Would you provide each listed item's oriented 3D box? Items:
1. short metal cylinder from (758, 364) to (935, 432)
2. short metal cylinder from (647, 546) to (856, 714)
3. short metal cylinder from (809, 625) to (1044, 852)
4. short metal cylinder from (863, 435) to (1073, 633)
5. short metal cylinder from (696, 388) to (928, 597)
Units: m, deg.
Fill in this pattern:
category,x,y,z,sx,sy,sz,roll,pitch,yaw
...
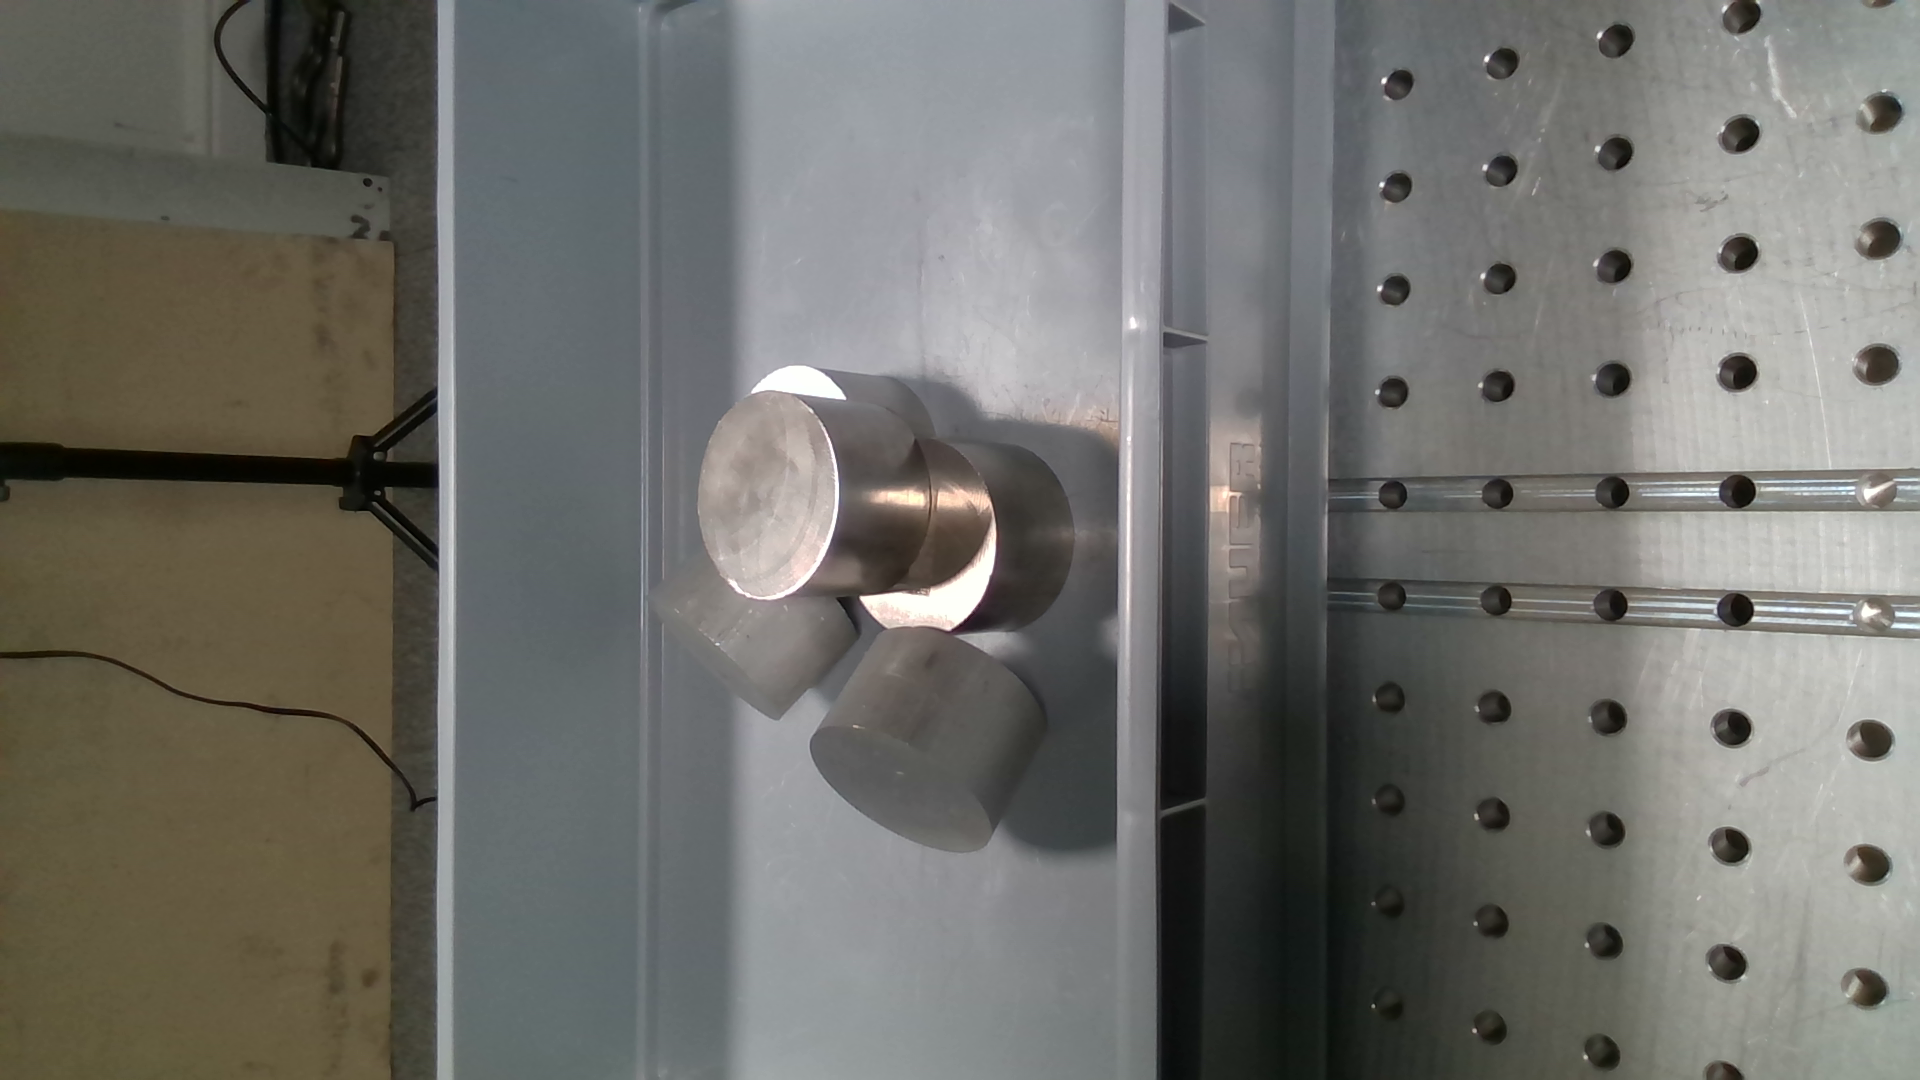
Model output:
category,x,y,z,sx,sy,sz,roll,pitch,yaw
short metal cylinder,-0.056,-0.036,0.612,0.080,0.050,0.080,0,91,40
short metal cylinder,-0.093,0.034,0.614,0.080,0.080,0.050,30,68,36
short metal cylinder,-0.013,0.080,0.549,0.080,0.050,0.080,21,144,16
short metal cylinder,-0.001,-0.001,0.564,0.080,0.050,0.080,0,91,40
short metal cylinder,-0.059,-0.018,0.547,0.080,0.050,0.080,0,91,40
